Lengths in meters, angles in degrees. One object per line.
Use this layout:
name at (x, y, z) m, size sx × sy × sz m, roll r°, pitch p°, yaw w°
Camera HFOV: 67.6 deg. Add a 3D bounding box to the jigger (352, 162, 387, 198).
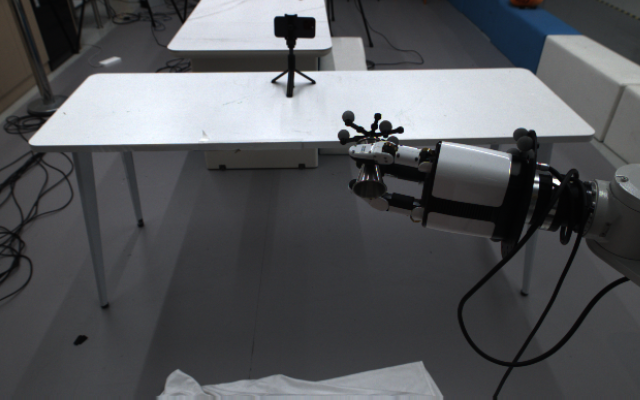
jigger at (0.064, -0.045, 0.623) m, size 0.043 × 0.043 × 0.071 m, roll 4°, pitch 61°, yaw 3°
